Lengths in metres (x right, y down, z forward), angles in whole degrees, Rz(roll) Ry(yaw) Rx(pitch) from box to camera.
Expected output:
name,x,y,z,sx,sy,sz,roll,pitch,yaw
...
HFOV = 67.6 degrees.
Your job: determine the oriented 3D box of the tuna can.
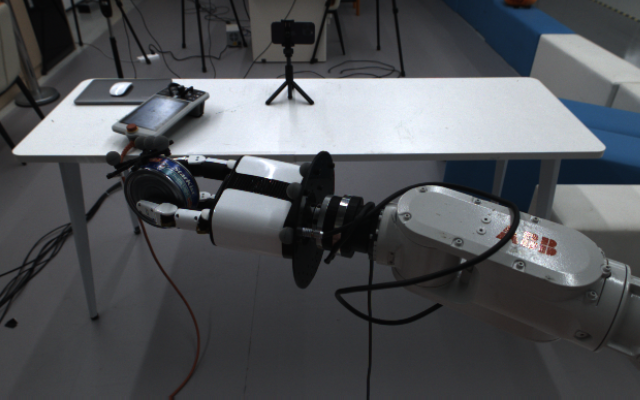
name,x,y,z,sx,sy,sz,roll,pitch,yaw
tuna can,-0.190,-0.002,0.587,0.085,0.085,0.034,11,34,13
